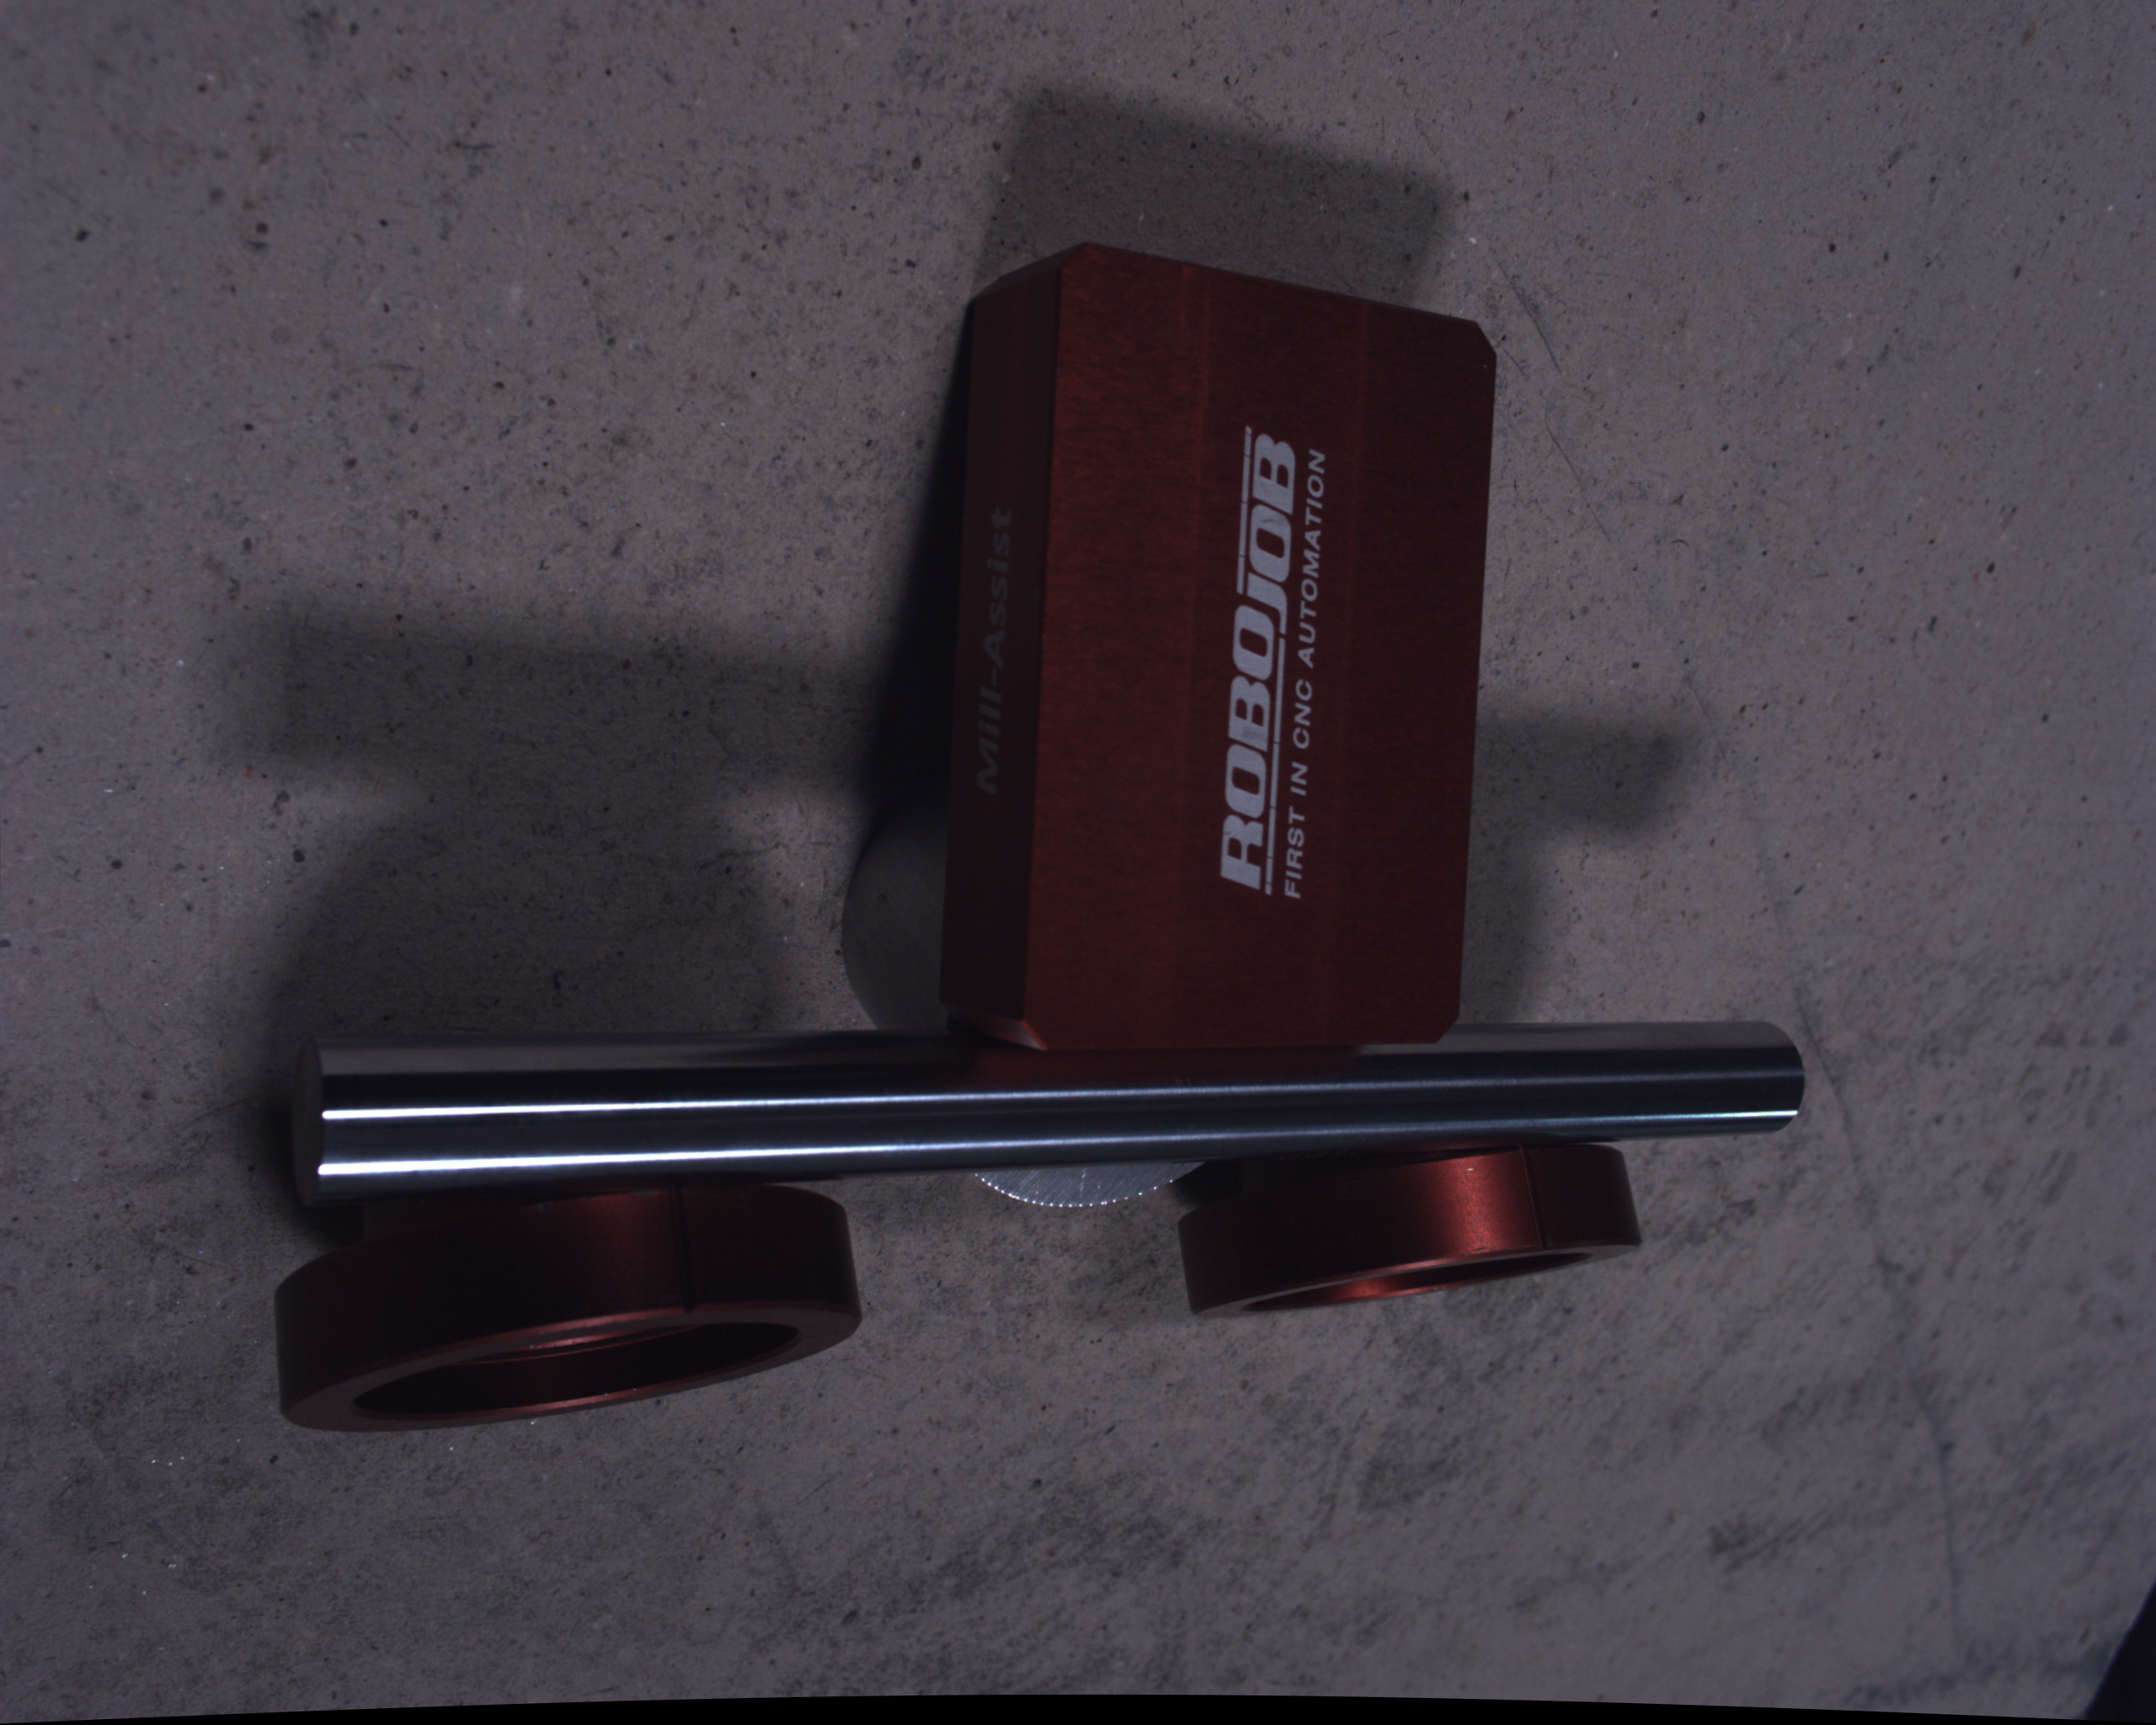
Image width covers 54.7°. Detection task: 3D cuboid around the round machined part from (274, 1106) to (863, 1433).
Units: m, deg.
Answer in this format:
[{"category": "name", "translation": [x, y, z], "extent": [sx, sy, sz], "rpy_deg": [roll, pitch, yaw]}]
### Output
[{"category": "round machined part", "translation": [-0.091, 0.070, 0.371], "extent": [0.099, 0.042, 0.098], "rpy_deg": [-11, 160, -4]}]

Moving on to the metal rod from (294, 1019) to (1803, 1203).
[{"category": "metal rod", "translation": [0.018, 0.042, 0.382], "extent": [0.303, 0.025, 0.025], "rpy_deg": [2, 118, -30]}]

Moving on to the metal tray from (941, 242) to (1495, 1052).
[{"category": "metal tray", "translation": [0.026, -0.034, 0.365], "extent": [0.091, 0.030, 0.129], "rpy_deg": [2, 91, -30]}]

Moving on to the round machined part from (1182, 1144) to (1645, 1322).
[{"category": "round machined part", "translation": [0.071, 0.072, 0.460], "extent": [0.099, 0.042, 0.098], "rpy_deg": [-8, 163, -2]}]

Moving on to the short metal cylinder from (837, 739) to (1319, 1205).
[{"category": "short metal cylinder", "translation": [0.000, 0.019, 0.406], "extent": [0.081, 0.050, 0.079], "rpy_deg": [-14, 125, -21]}]
